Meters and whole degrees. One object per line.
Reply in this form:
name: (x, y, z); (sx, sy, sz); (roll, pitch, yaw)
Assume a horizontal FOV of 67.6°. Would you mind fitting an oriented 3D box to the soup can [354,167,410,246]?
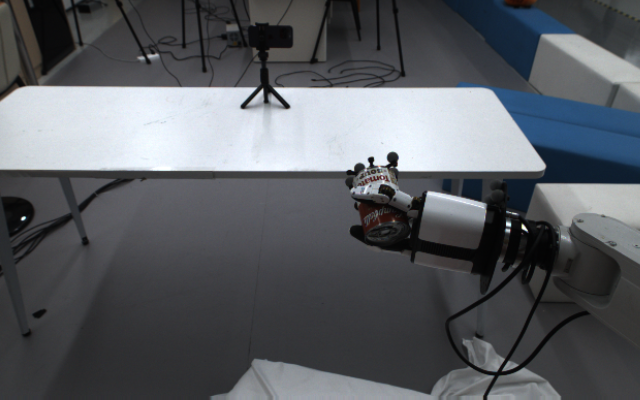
soup can: (0.091, 0.008, 0.717); (0.067, 0.067, 0.101); (-5, 57, -10)
